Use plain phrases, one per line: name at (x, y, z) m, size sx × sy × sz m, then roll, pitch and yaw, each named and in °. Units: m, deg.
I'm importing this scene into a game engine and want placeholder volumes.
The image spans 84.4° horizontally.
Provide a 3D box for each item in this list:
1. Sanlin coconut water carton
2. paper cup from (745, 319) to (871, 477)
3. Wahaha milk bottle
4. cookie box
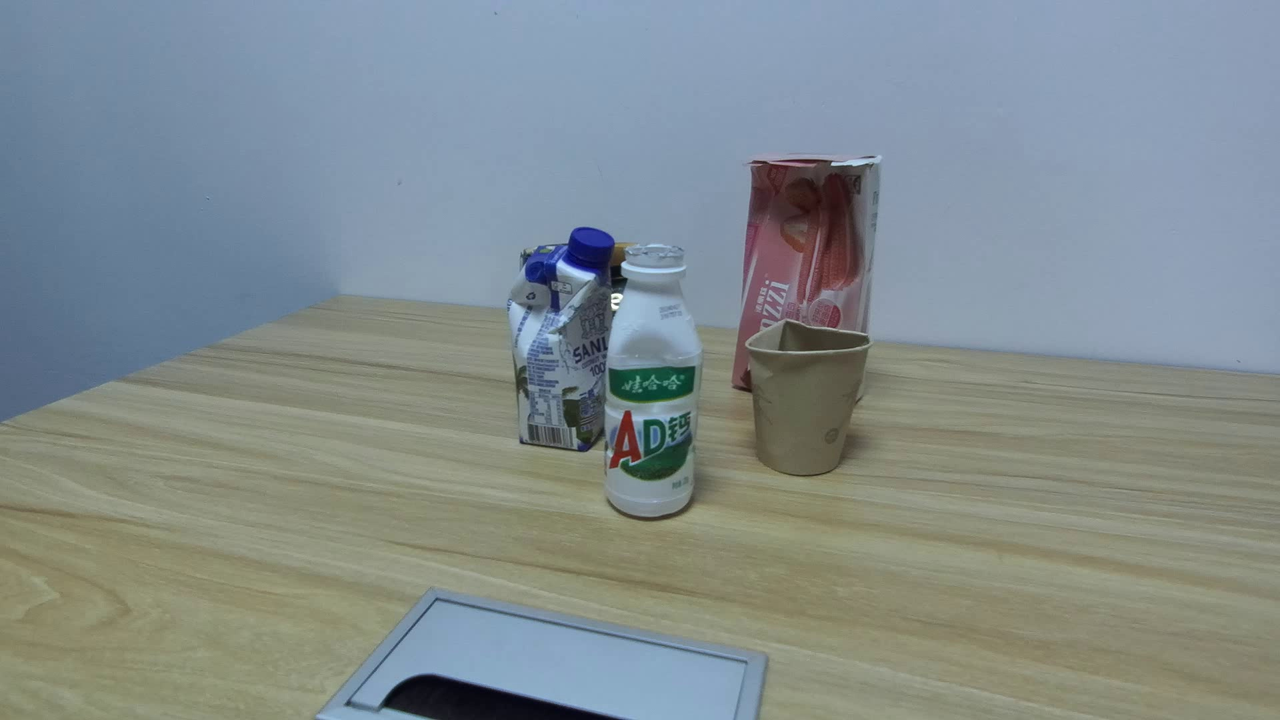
Sanlin coconut water carton at (-0.051, -0.015, 0.468) m, size 0.069 × 0.144 × 0.061 m, roll 7°, pitch 22°, yaw 15°
paper cup at (0.103, 0.025, 0.443) m, size 0.071 × 0.084 × 0.066 m, roll 11°, pitch 23°, yaw 29°
Wahaha milk bottle at (0.007, 0.012, 0.389) m, size 0.055 × 0.149 × 0.055 m, roll 1°, pitch 19°, yaw 0°
cookie box at (0.122, -0.058, 0.531) m, size 0.118 × 0.184 × 0.056 m, roll 16°, pitch 24°, yaw 40°
